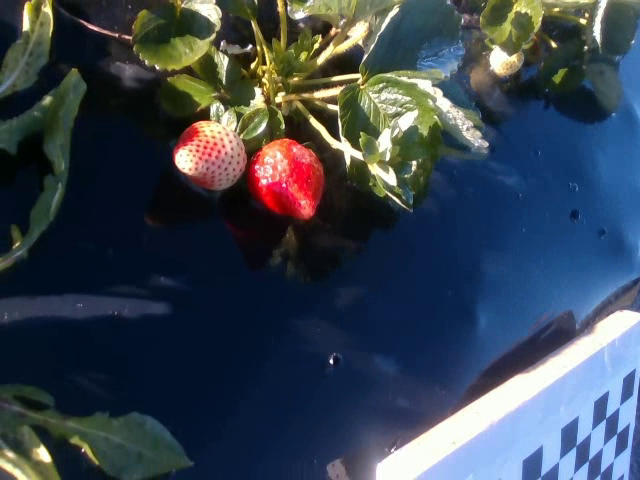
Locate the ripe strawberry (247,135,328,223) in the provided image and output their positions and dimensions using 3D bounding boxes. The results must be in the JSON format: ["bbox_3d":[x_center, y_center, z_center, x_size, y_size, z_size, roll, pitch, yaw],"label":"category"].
[{"bbox_3d":[-0.010,-0.025,0.276,0.040,0.038,0.056,-22,29,-9],"label":"ripe strawberry"}]
